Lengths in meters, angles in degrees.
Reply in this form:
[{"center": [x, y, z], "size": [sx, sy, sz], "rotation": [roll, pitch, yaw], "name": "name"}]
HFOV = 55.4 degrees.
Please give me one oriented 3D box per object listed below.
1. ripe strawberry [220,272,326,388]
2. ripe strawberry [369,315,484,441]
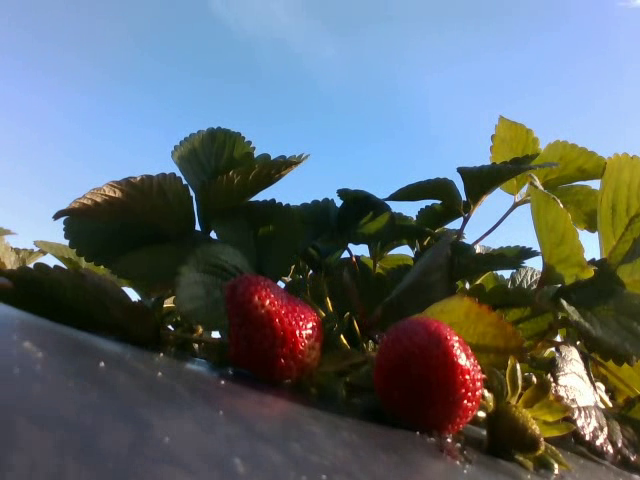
[{"center": [-0.019, 0.035, 0.242], "size": [0.039, 0.054, 0.048], "rotation": [-37, 20, 7], "name": "ripe strawberry"}, {"center": [0.039, 0.040, 0.202], "size": [0.043, 0.039, 0.053], "rotation": [33, -25, 11], "name": "ripe strawberry"}]
